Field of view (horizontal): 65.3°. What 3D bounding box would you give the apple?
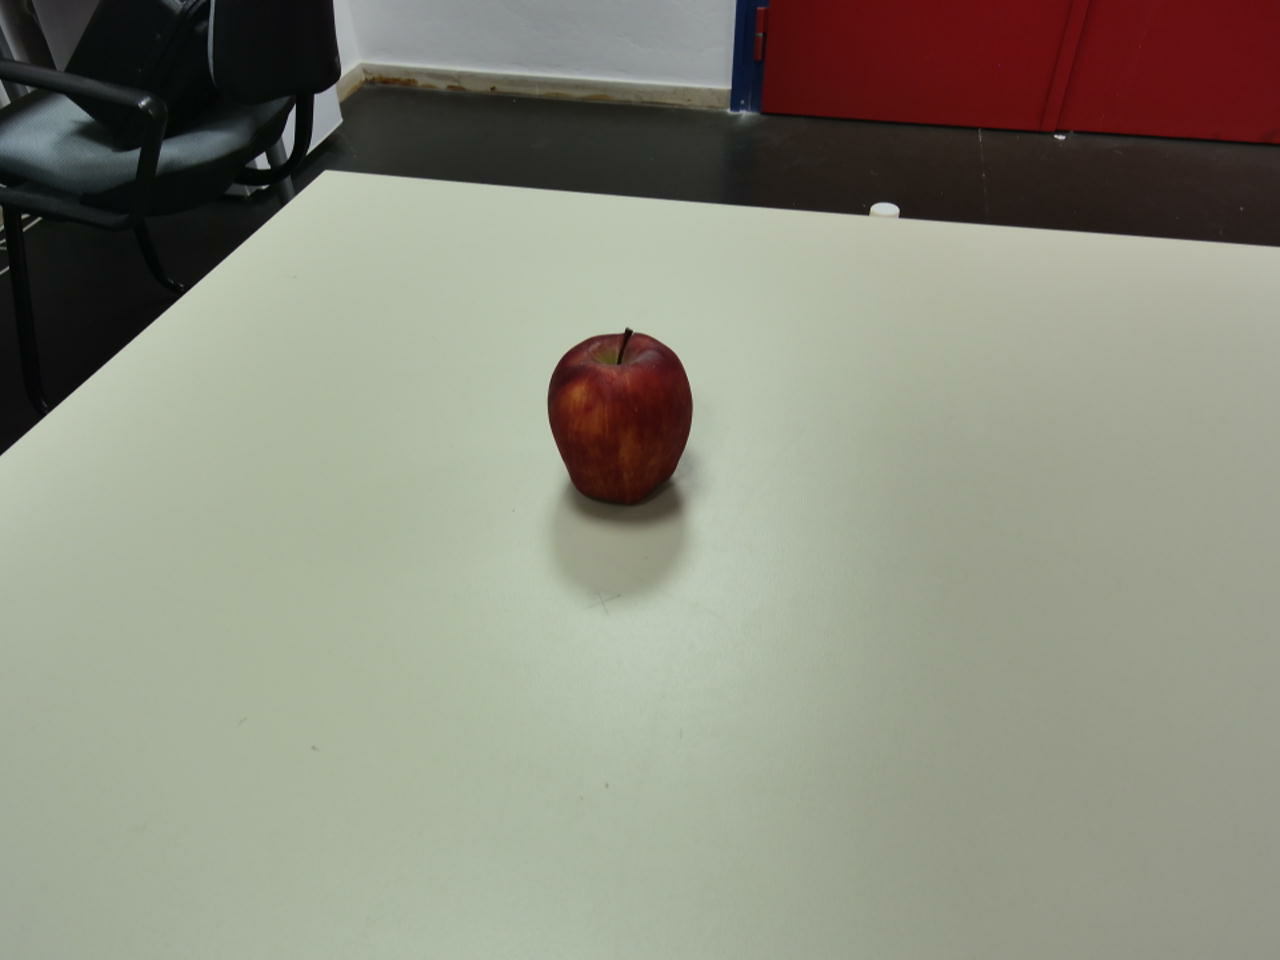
[{"bbox_3d":[-0.011,-0.039,0.519,0.083,0.090,0.083,-1,39,1],"label":"apple"}]
